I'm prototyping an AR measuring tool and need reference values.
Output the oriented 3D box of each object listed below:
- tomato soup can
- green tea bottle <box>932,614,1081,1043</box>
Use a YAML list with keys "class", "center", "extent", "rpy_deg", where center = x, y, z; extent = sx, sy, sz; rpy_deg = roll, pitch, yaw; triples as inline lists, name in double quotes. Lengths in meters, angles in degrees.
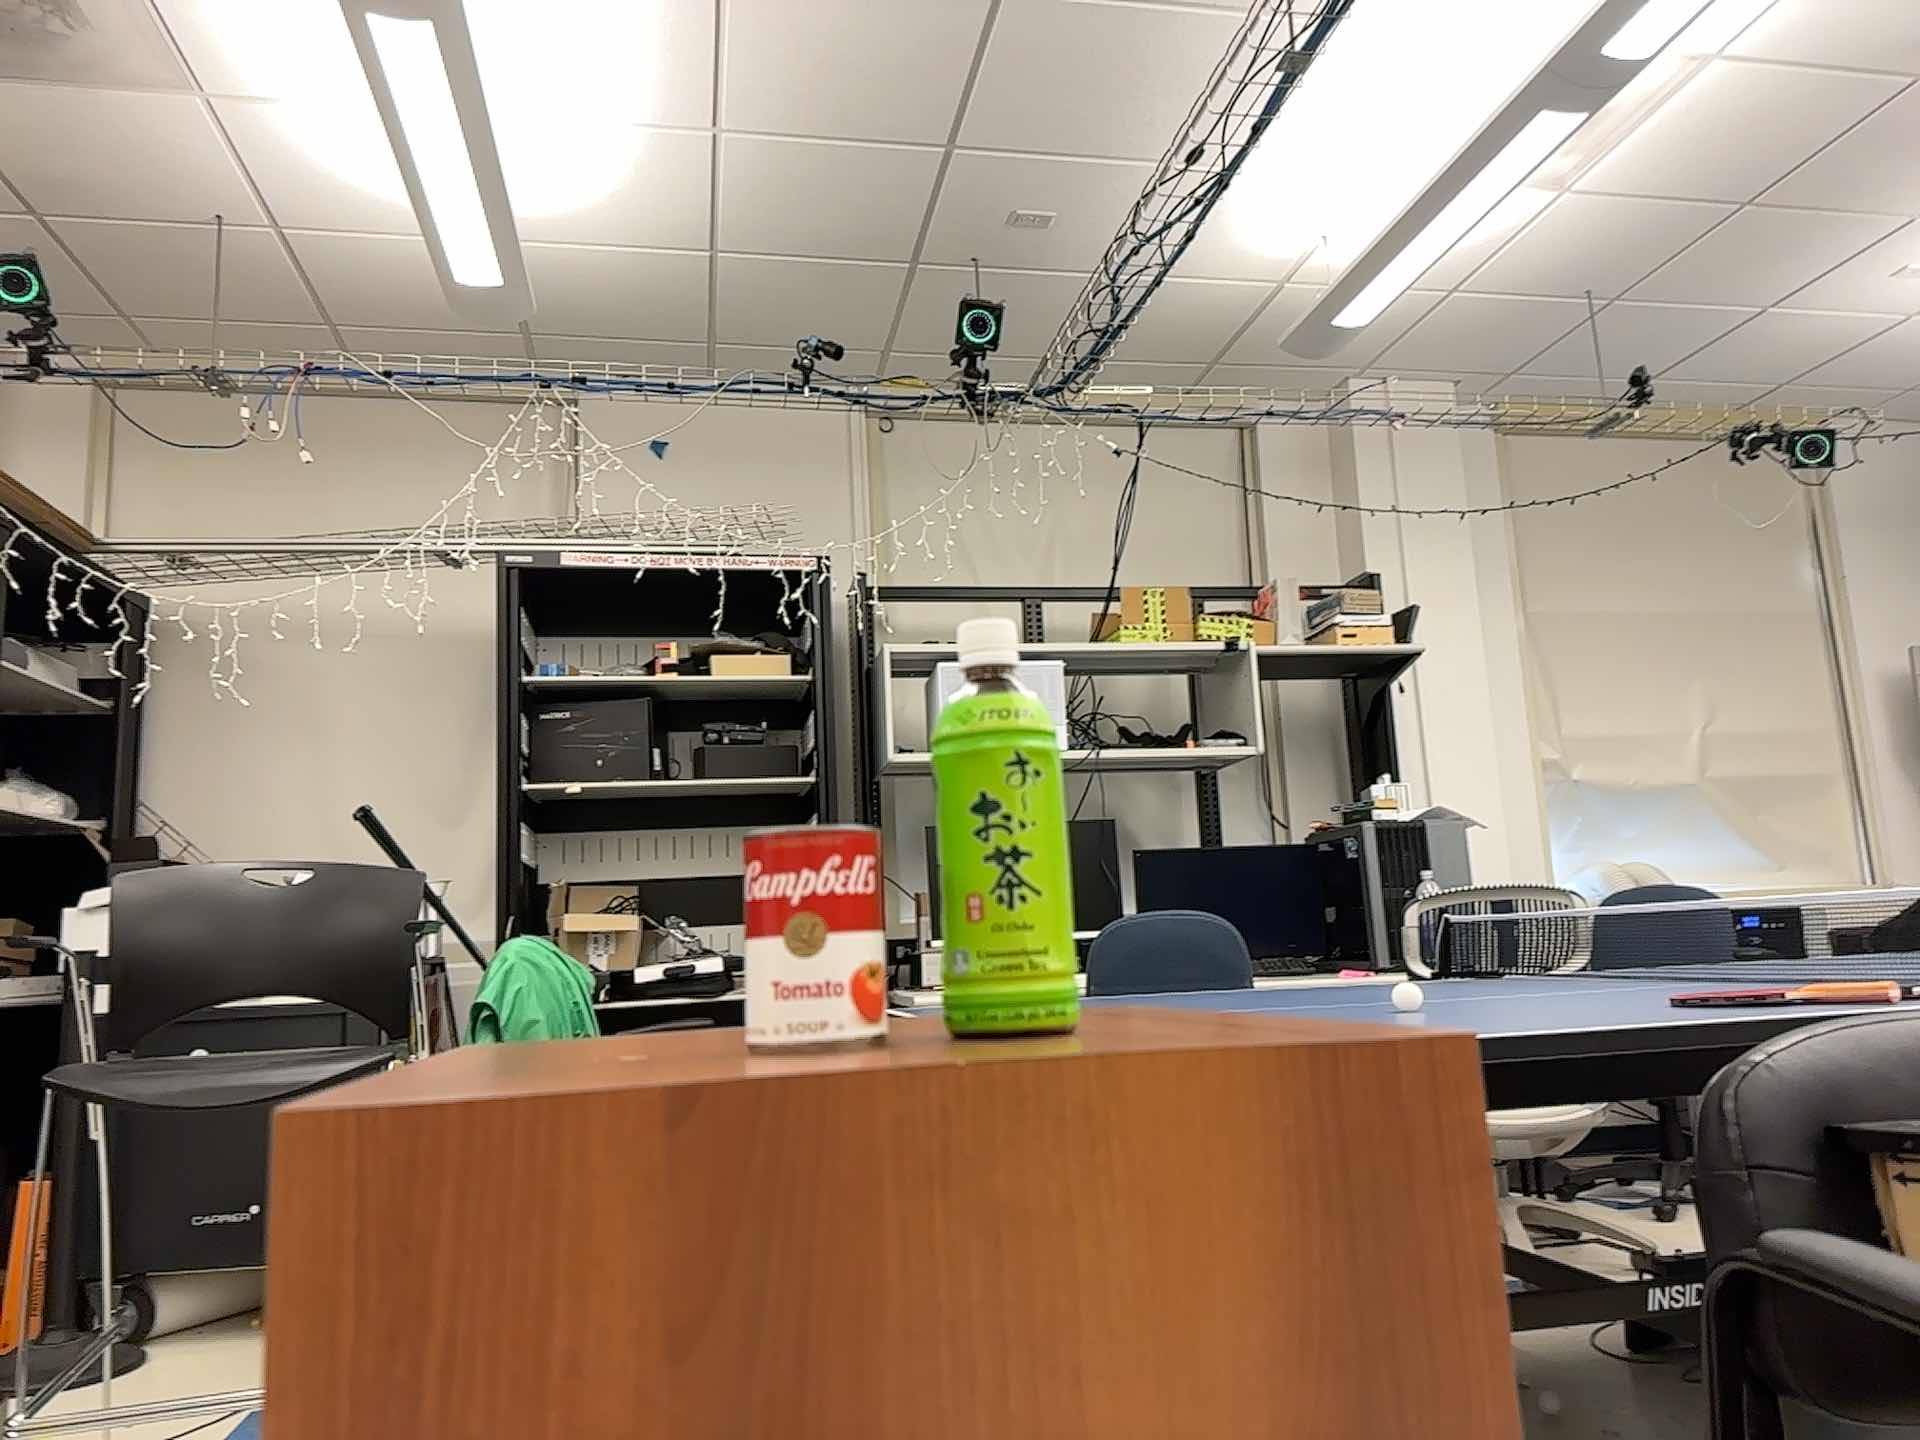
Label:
- class: "tomato soup can"
  center: [-0.070, 0.100, 0.636]
  extent: [0.067, 0.102, 0.067]
  rpy_deg: [-3, -10, -1]
- class: "green tea bottle"
  center: [0.020, 0.053, 0.676]
  extent: [0.073, 0.212, 0.073]
  rpy_deg: [-5, -9, -1]
